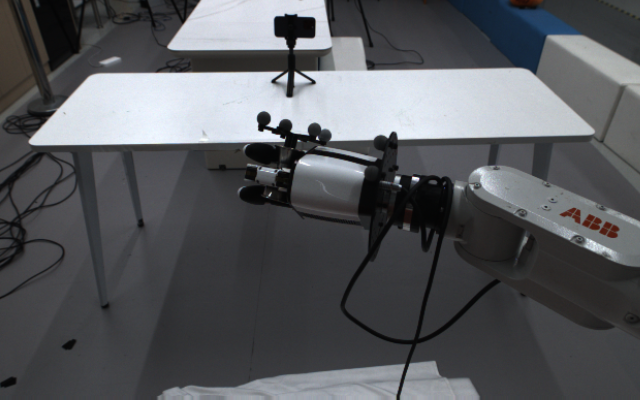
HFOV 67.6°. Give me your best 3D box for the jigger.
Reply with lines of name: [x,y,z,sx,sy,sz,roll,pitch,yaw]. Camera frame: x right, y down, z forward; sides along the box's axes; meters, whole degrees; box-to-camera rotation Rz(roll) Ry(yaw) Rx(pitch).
jigger: [-0.044,-0.033,0.619,0.043,0.071,0.043,14,1,0]
